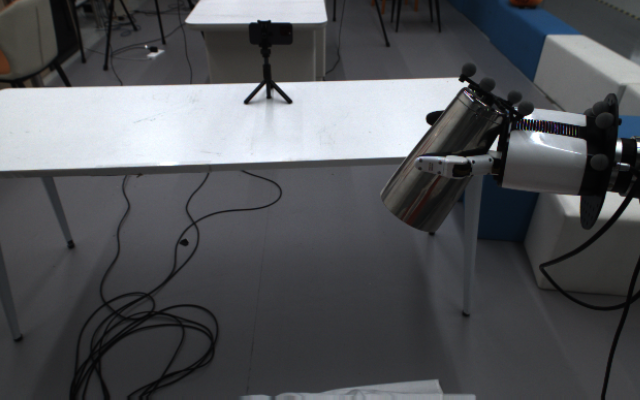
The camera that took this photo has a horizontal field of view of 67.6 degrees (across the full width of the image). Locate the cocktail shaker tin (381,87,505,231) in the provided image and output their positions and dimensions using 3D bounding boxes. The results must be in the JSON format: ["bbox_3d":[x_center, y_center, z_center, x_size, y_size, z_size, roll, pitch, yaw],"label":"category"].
[{"bbox_3d":[0.161,-0.057,0.619,0.093,0.170,0.093,25,29,-15],"label":"cocktail shaker tin"}]
